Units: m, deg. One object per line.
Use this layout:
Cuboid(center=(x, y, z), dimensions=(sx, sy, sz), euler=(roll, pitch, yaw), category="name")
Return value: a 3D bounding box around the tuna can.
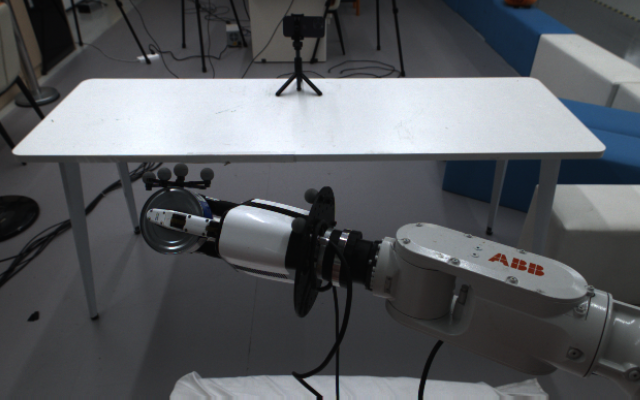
Cuboid(center=(-0.178, 0.029, 0.618), dimensions=(0.085, 0.085, 0.034), euler=(10, -6, 11), category="tuna can")
